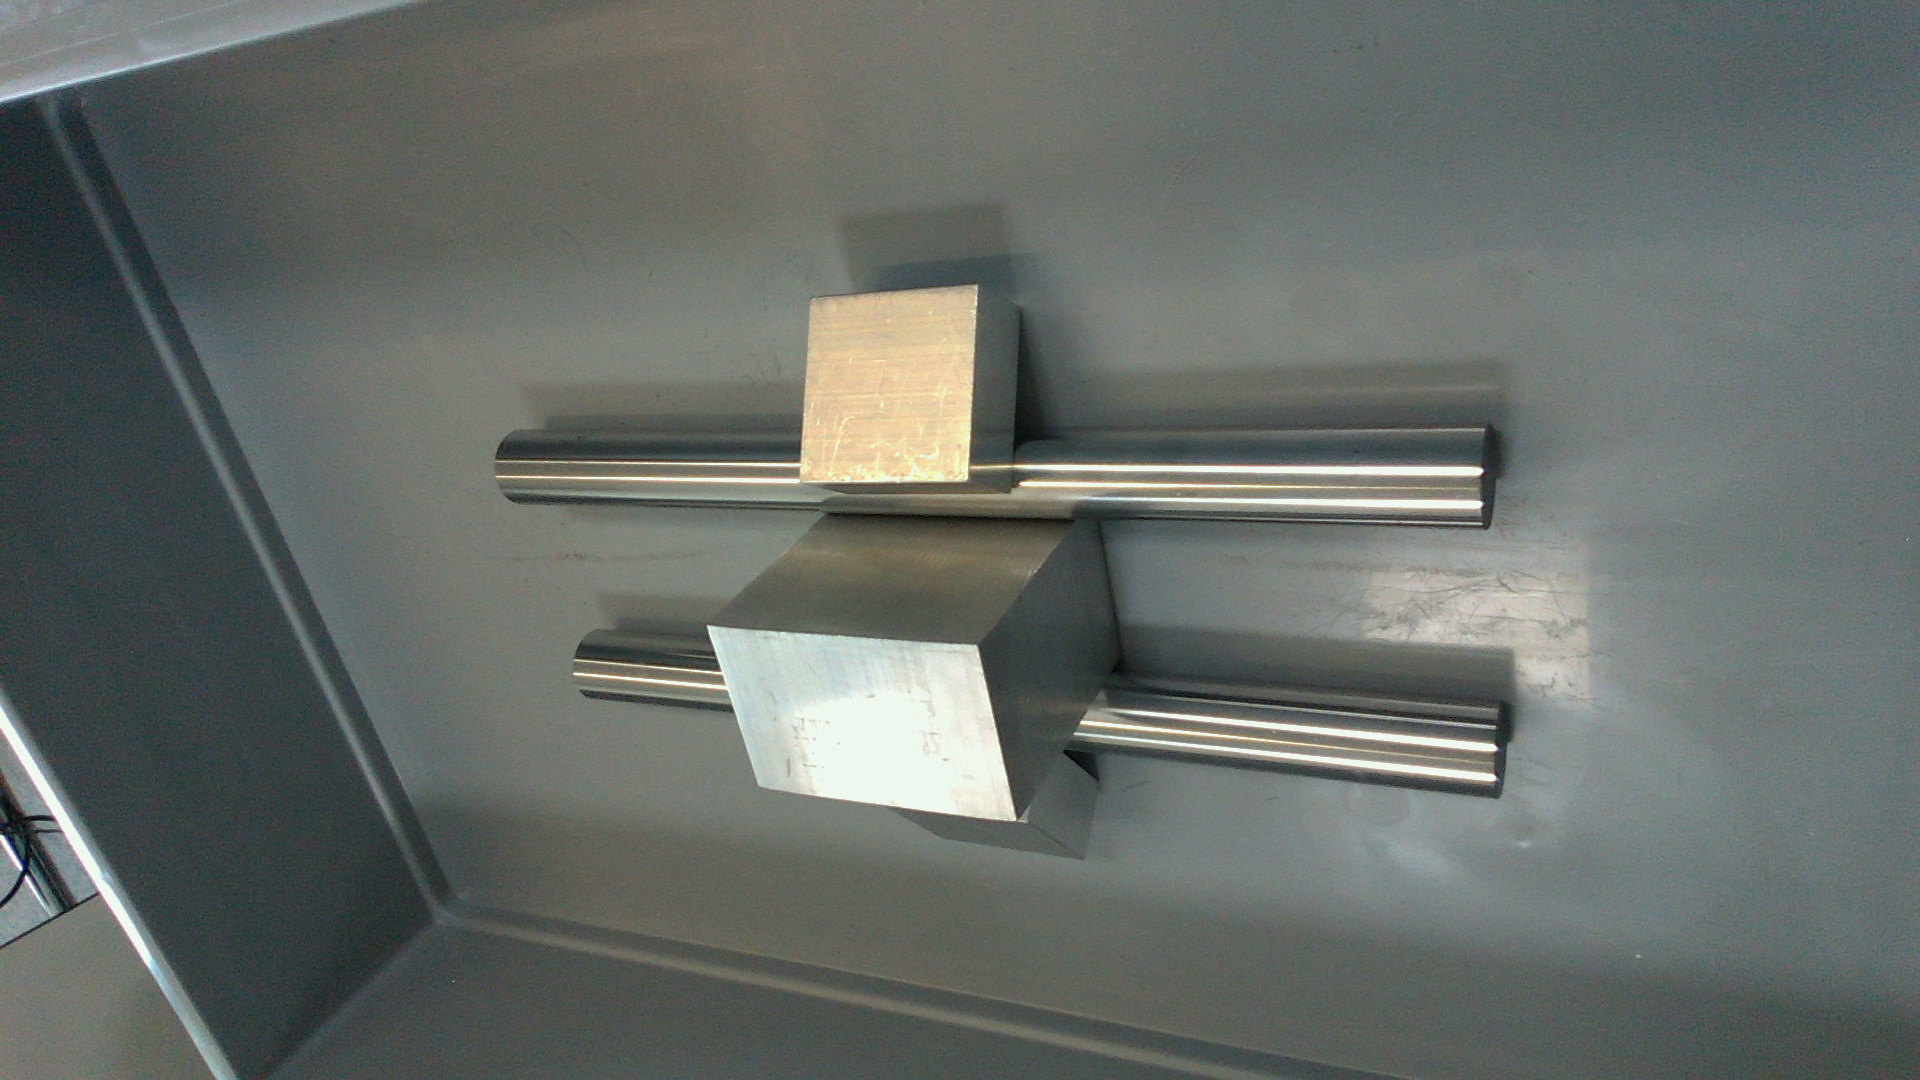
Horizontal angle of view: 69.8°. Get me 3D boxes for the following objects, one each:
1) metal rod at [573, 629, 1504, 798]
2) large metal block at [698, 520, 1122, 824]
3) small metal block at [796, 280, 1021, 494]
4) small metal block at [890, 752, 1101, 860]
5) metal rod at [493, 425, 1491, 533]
[{"bbox_3d":[0.005,0.048,0.419,0.299,0.025,0.025,2,119,27],"label":"metal rod"},{"bbox_3d":[-0.010,0.028,0.377,0.080,0.080,0.050,2,119,27],"label":"large metal block"},{"bbox_3d":[-0.013,-0.038,0.360,0.050,0.025,0.050,1,84,28],"label":"small metal block"},{"bbox_3d":[0.009,0.076,0.418,0.050,0.025,0.050,2,157,27],"label":"small metal block"},{"bbox_3d":[-0.012,-0.019,0.385,0.299,0.025,0.025,2,119,27],"label":"metal rod"}]
